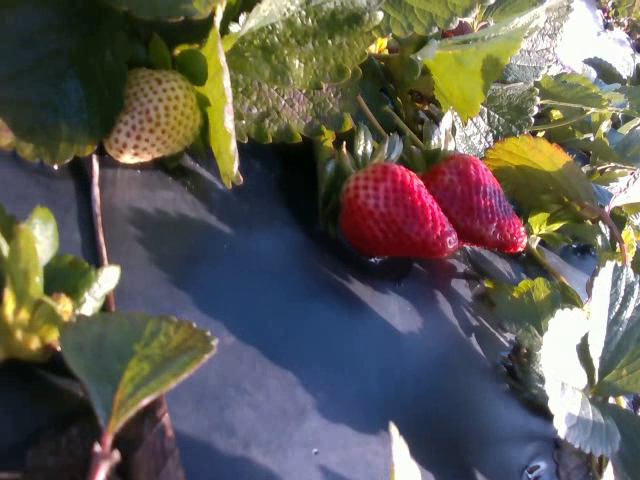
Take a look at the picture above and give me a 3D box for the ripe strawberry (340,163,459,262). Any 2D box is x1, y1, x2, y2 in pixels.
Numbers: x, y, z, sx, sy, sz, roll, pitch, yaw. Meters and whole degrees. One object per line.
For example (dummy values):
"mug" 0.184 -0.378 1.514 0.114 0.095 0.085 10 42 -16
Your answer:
"ripe strawberry" 0.030 -0.007 0.220 0.052 0.043 0.036 36 -30 16

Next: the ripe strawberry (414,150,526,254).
"ripe strawberry" 0.065 -0.011 0.263 0.058 0.046 0.052 39 54 21
